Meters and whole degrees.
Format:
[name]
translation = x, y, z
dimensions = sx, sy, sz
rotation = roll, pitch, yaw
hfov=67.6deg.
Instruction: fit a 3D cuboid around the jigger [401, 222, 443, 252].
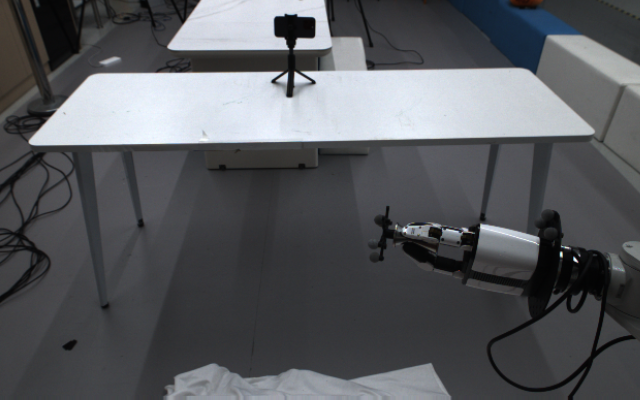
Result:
[jigger]
translation = 0.157, 0.054, 0.750
dimensions = 0.071, 0.043, 0.043
rotation = 8, 35, 15
